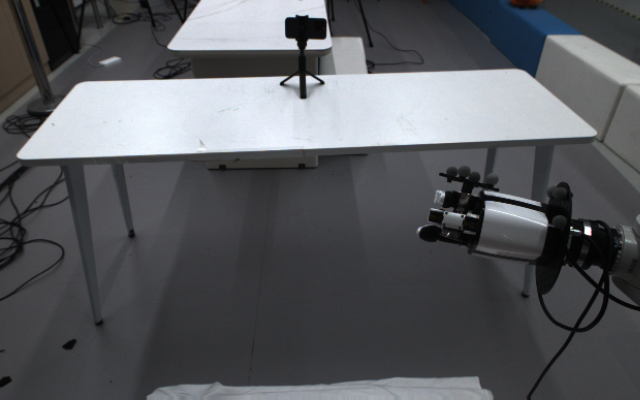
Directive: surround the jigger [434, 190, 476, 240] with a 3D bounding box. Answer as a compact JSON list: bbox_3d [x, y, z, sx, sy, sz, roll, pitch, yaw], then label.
[{"bbox_3d":[0.204,0.022,0.705,0.043,0.071,0.043,17,2,-1],"label":"jigger"}]
